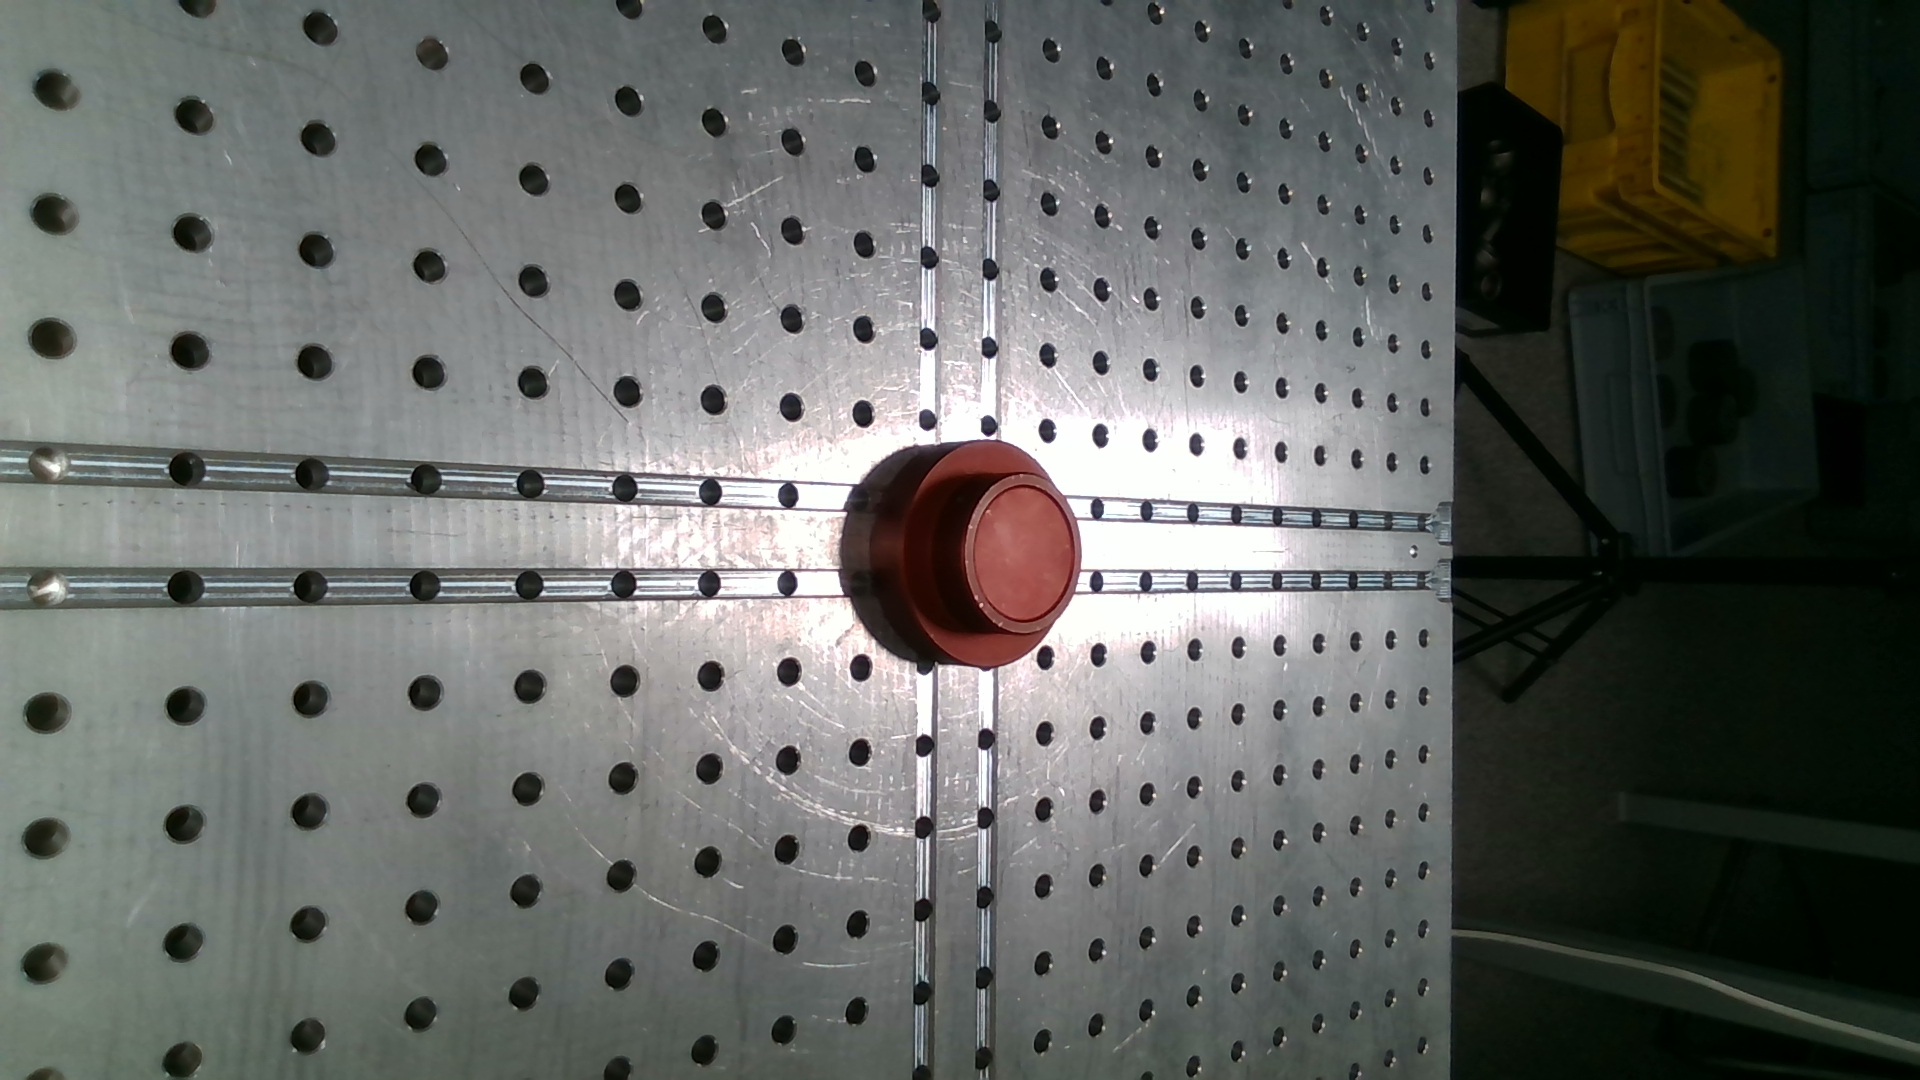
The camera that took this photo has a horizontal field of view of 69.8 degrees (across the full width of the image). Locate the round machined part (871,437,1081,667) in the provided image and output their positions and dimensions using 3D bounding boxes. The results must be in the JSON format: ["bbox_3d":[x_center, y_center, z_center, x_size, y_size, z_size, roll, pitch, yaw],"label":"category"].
[{"bbox_3d":[0.014,0.005,0.586,0.098,0.042,0.098,0,90,-40],"label":"round machined part"}]
